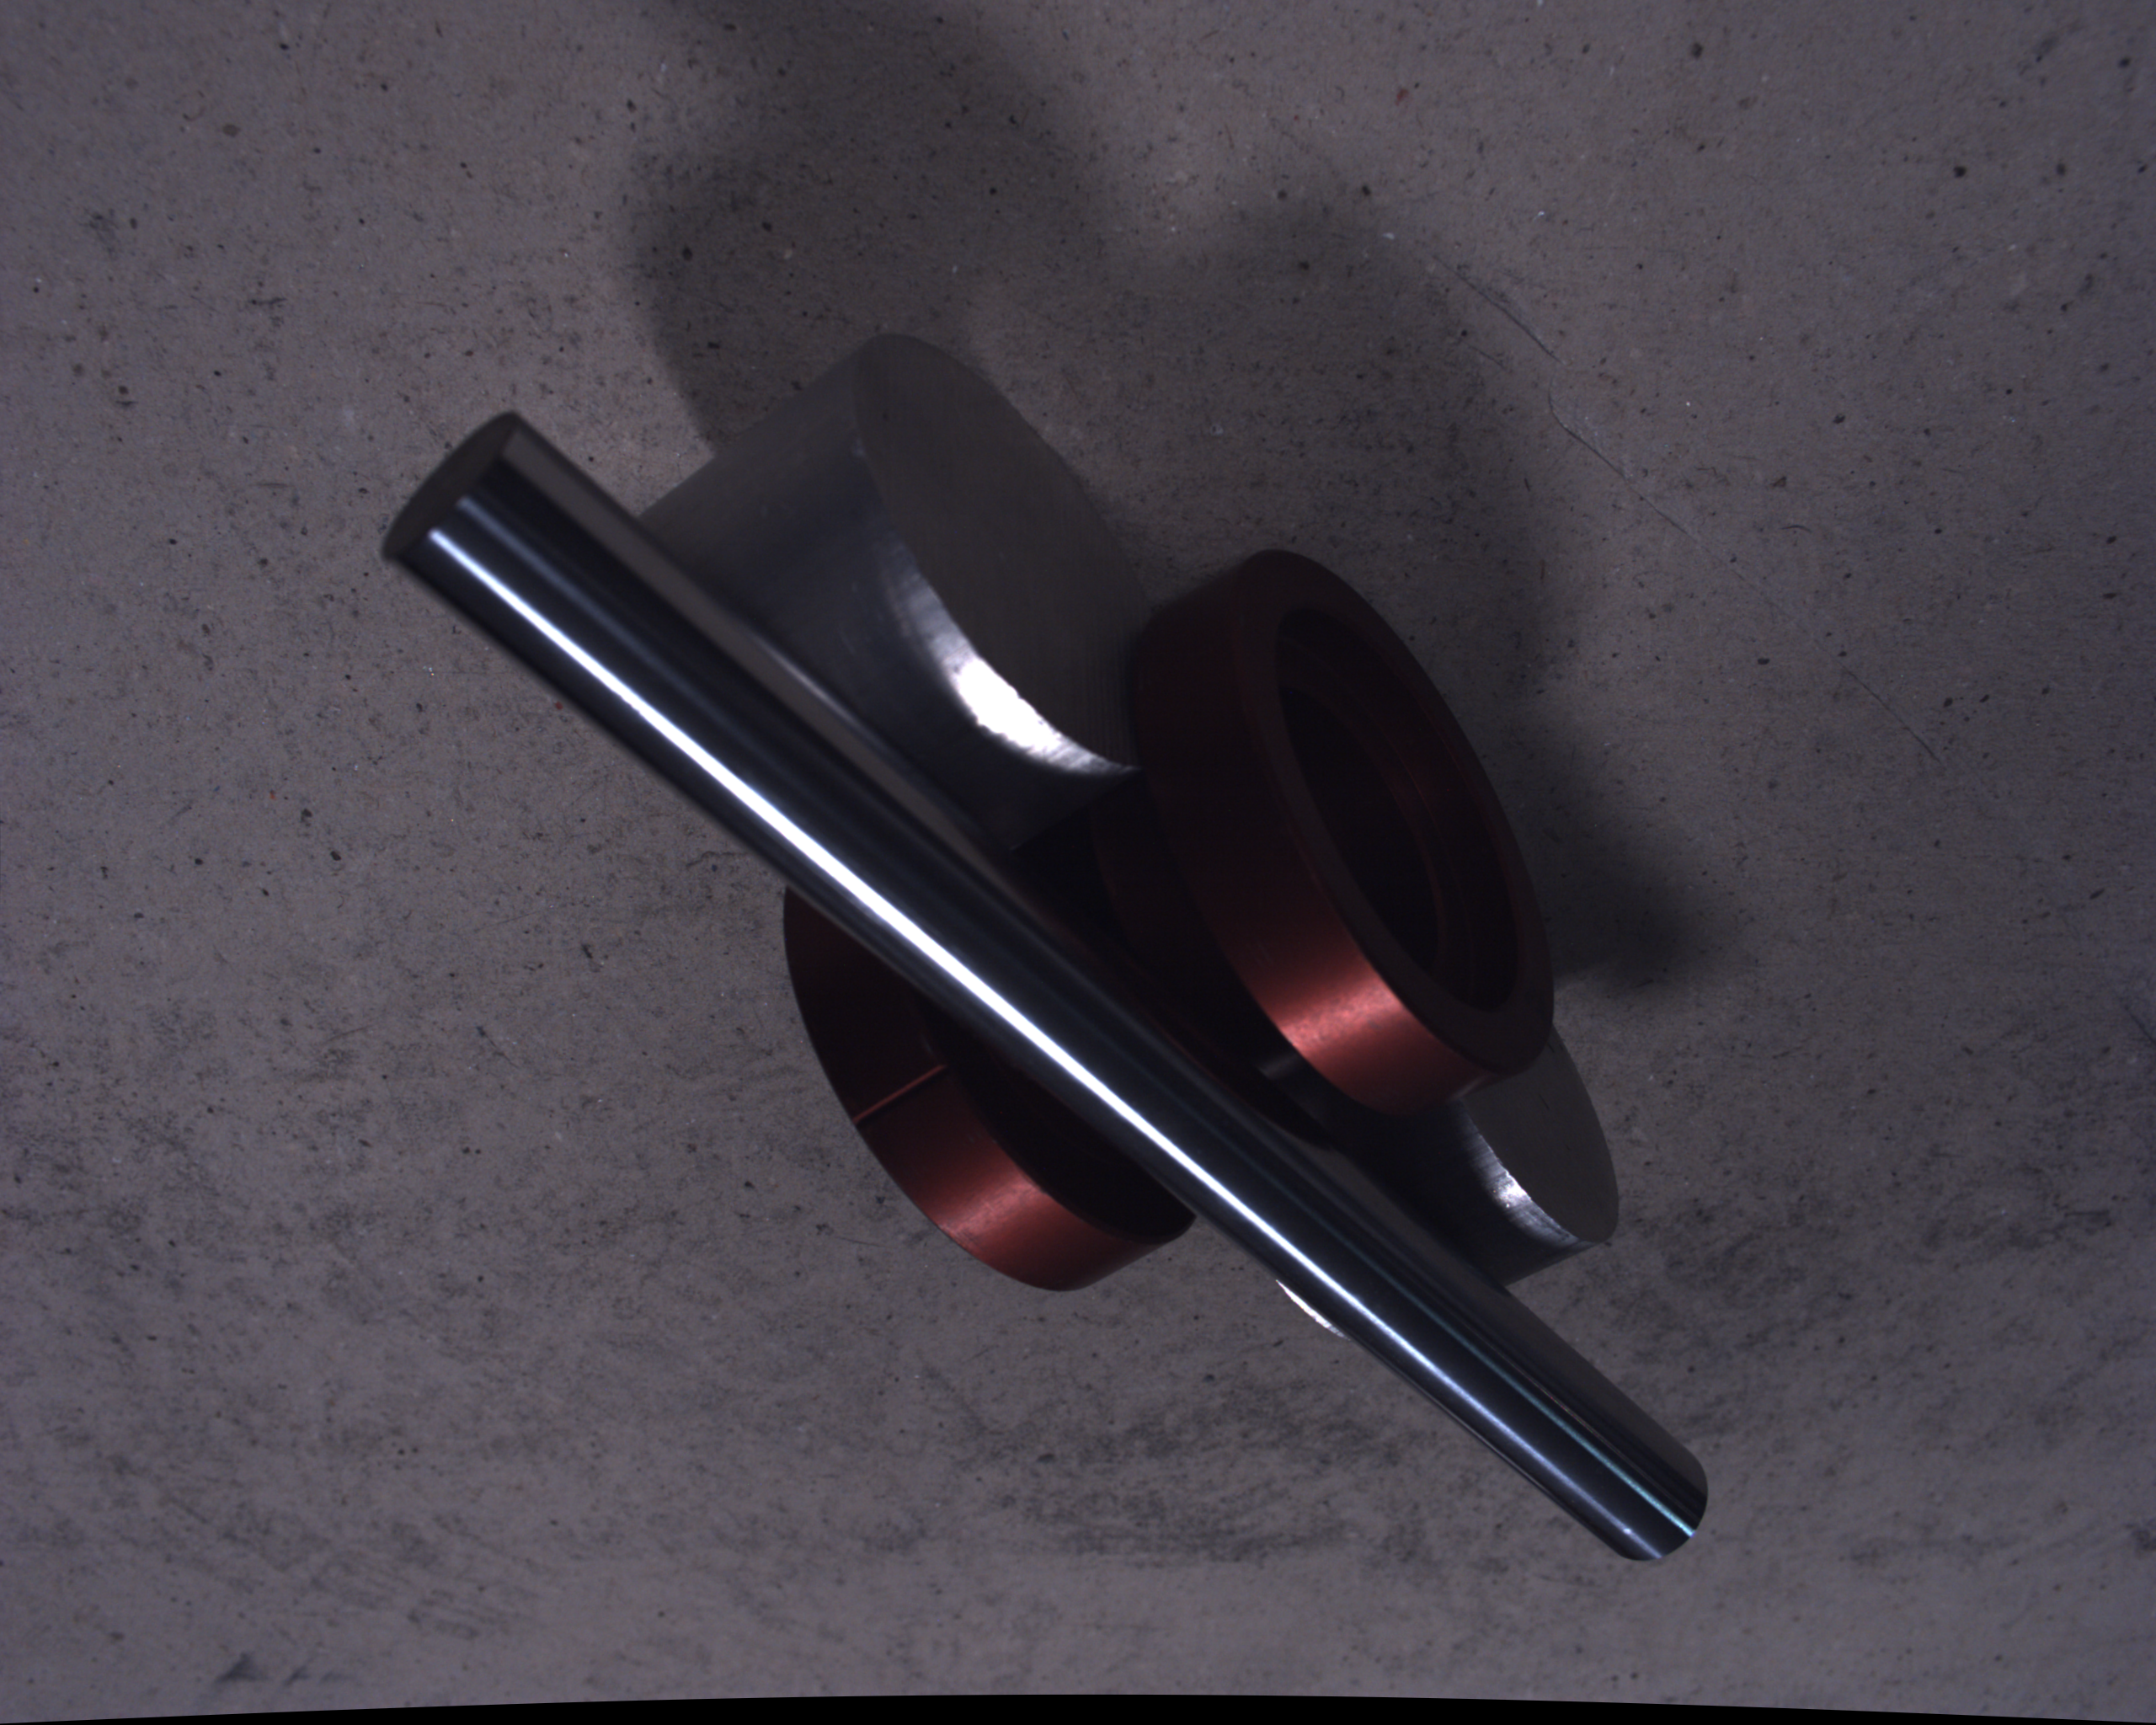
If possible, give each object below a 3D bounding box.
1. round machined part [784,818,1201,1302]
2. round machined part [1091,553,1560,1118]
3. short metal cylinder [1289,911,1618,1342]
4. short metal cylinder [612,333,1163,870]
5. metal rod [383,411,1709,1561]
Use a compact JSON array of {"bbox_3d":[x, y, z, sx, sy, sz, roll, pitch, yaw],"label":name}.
[{"bbox_3d":[-0.005,0.027,0.382,0.042,0.098,0.098,-34,123,20],"label":"round machined part"},{"bbox_3d":[0.040,-0.001,0.361,0.042,0.098,0.098,-29,125,28],"label":"round machined part"},{"bbox_3d":[0.064,0.049,0.415,0.050,0.080,0.080,-32,124,24],"label":"short metal cylinder"},{"bbox_3d":[-0.028,-0.038,0.339,0.050,0.080,0.080,-32,124,24],"label":"short metal cylinder"},{"bbox_3d":[0.017,0.039,0.338,0.025,0.025,0.300,-33,124,24],"label":"metal rod"}]
